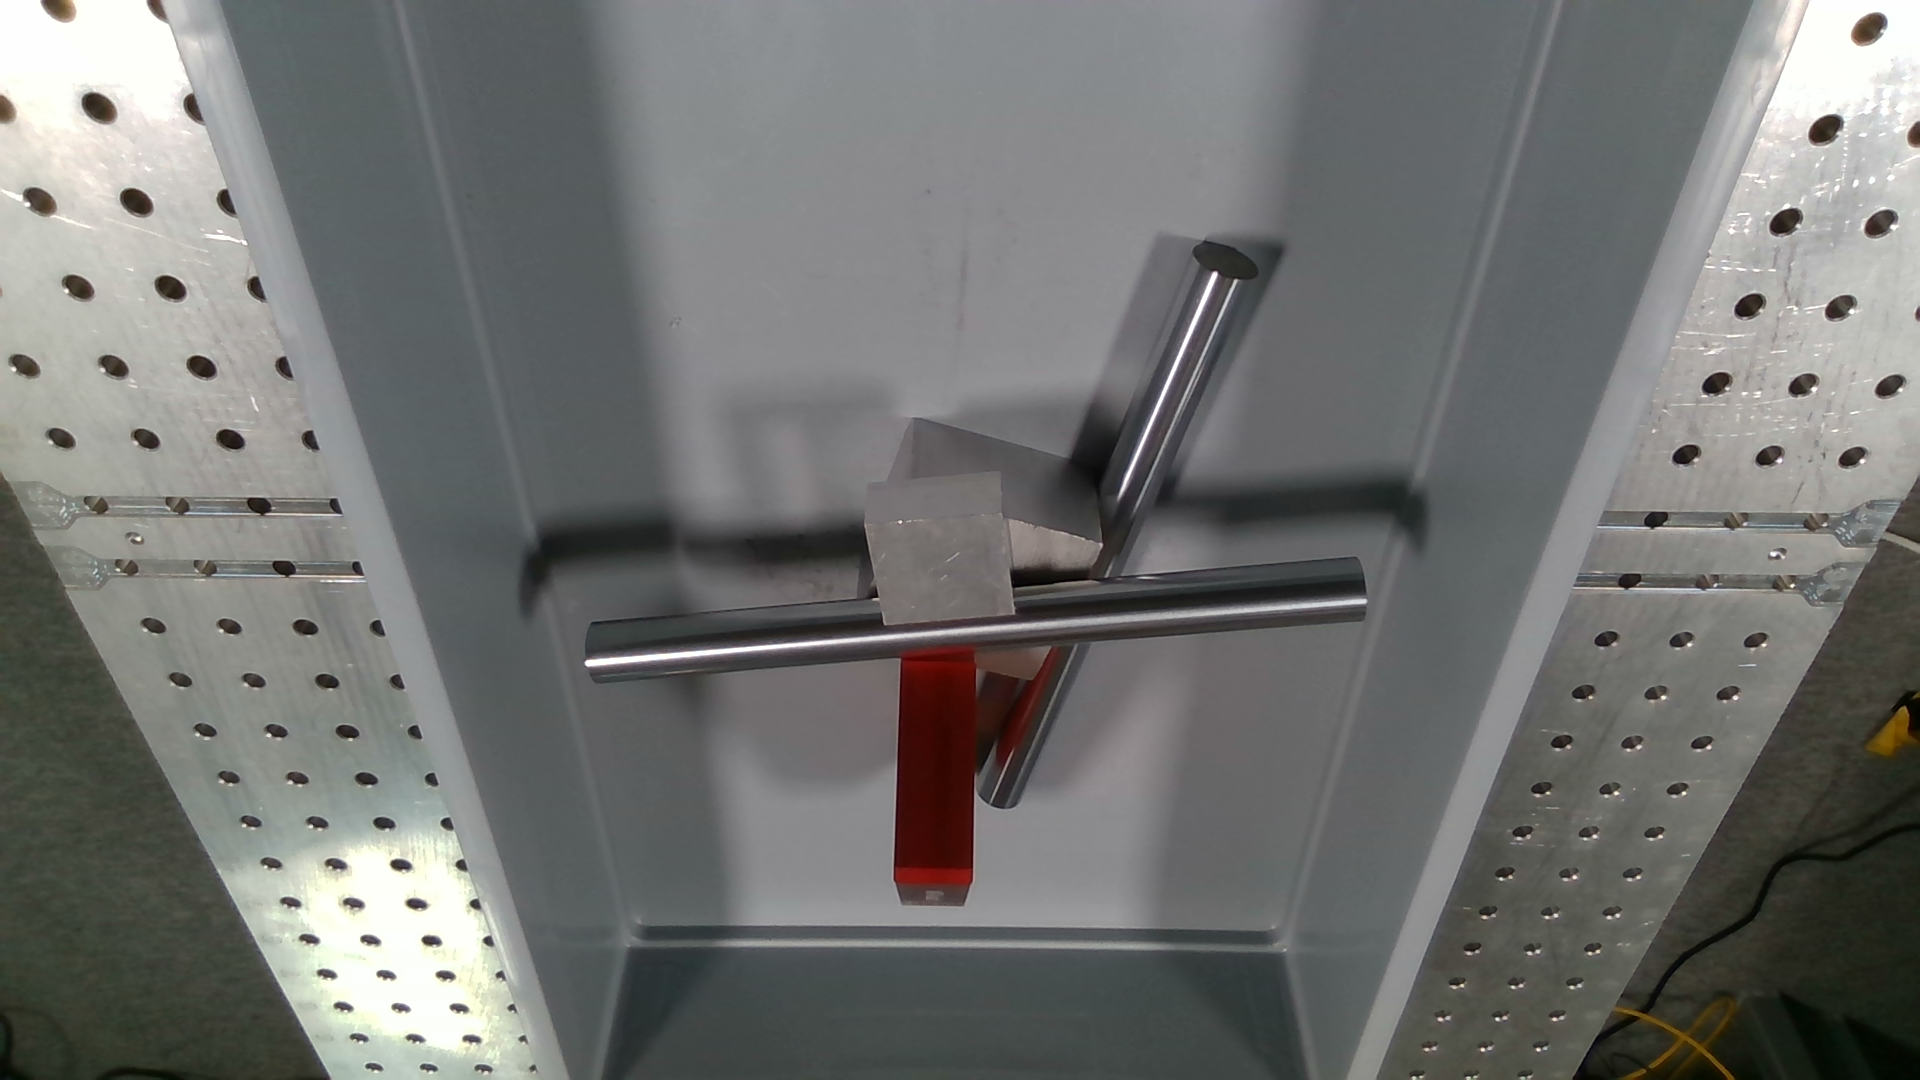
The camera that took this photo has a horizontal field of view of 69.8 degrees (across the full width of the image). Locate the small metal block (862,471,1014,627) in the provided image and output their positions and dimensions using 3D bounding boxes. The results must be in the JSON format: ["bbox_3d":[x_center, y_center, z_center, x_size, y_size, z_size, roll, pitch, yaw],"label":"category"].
[{"bbox_3d":[-0.007,0.004,0.516,0.050,0.025,0.050,-5,130,4],"label":"small metal block"}]

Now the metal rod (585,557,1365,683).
[{"bbox_3d":[0.004,0.032,0.540,0.300,0.025,0.025,-5,130,4],"label":"metal rod"}]

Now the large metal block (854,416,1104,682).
[{"bbox_3d":[0.005,0.005,0.566,0.080,0.050,0.080,14,129,-11],"label":"large metal block"}]

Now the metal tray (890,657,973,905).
[{"bbox_3d":[-0.011,0.108,0.592,0.030,0.090,0.130,1,161,0],"label":"metal tray"}]

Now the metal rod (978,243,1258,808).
[{"bbox_3d":[0.057,0.011,0.588,0.025,0.025,0.301,11,129,-9],"label":"metal rod"}]
